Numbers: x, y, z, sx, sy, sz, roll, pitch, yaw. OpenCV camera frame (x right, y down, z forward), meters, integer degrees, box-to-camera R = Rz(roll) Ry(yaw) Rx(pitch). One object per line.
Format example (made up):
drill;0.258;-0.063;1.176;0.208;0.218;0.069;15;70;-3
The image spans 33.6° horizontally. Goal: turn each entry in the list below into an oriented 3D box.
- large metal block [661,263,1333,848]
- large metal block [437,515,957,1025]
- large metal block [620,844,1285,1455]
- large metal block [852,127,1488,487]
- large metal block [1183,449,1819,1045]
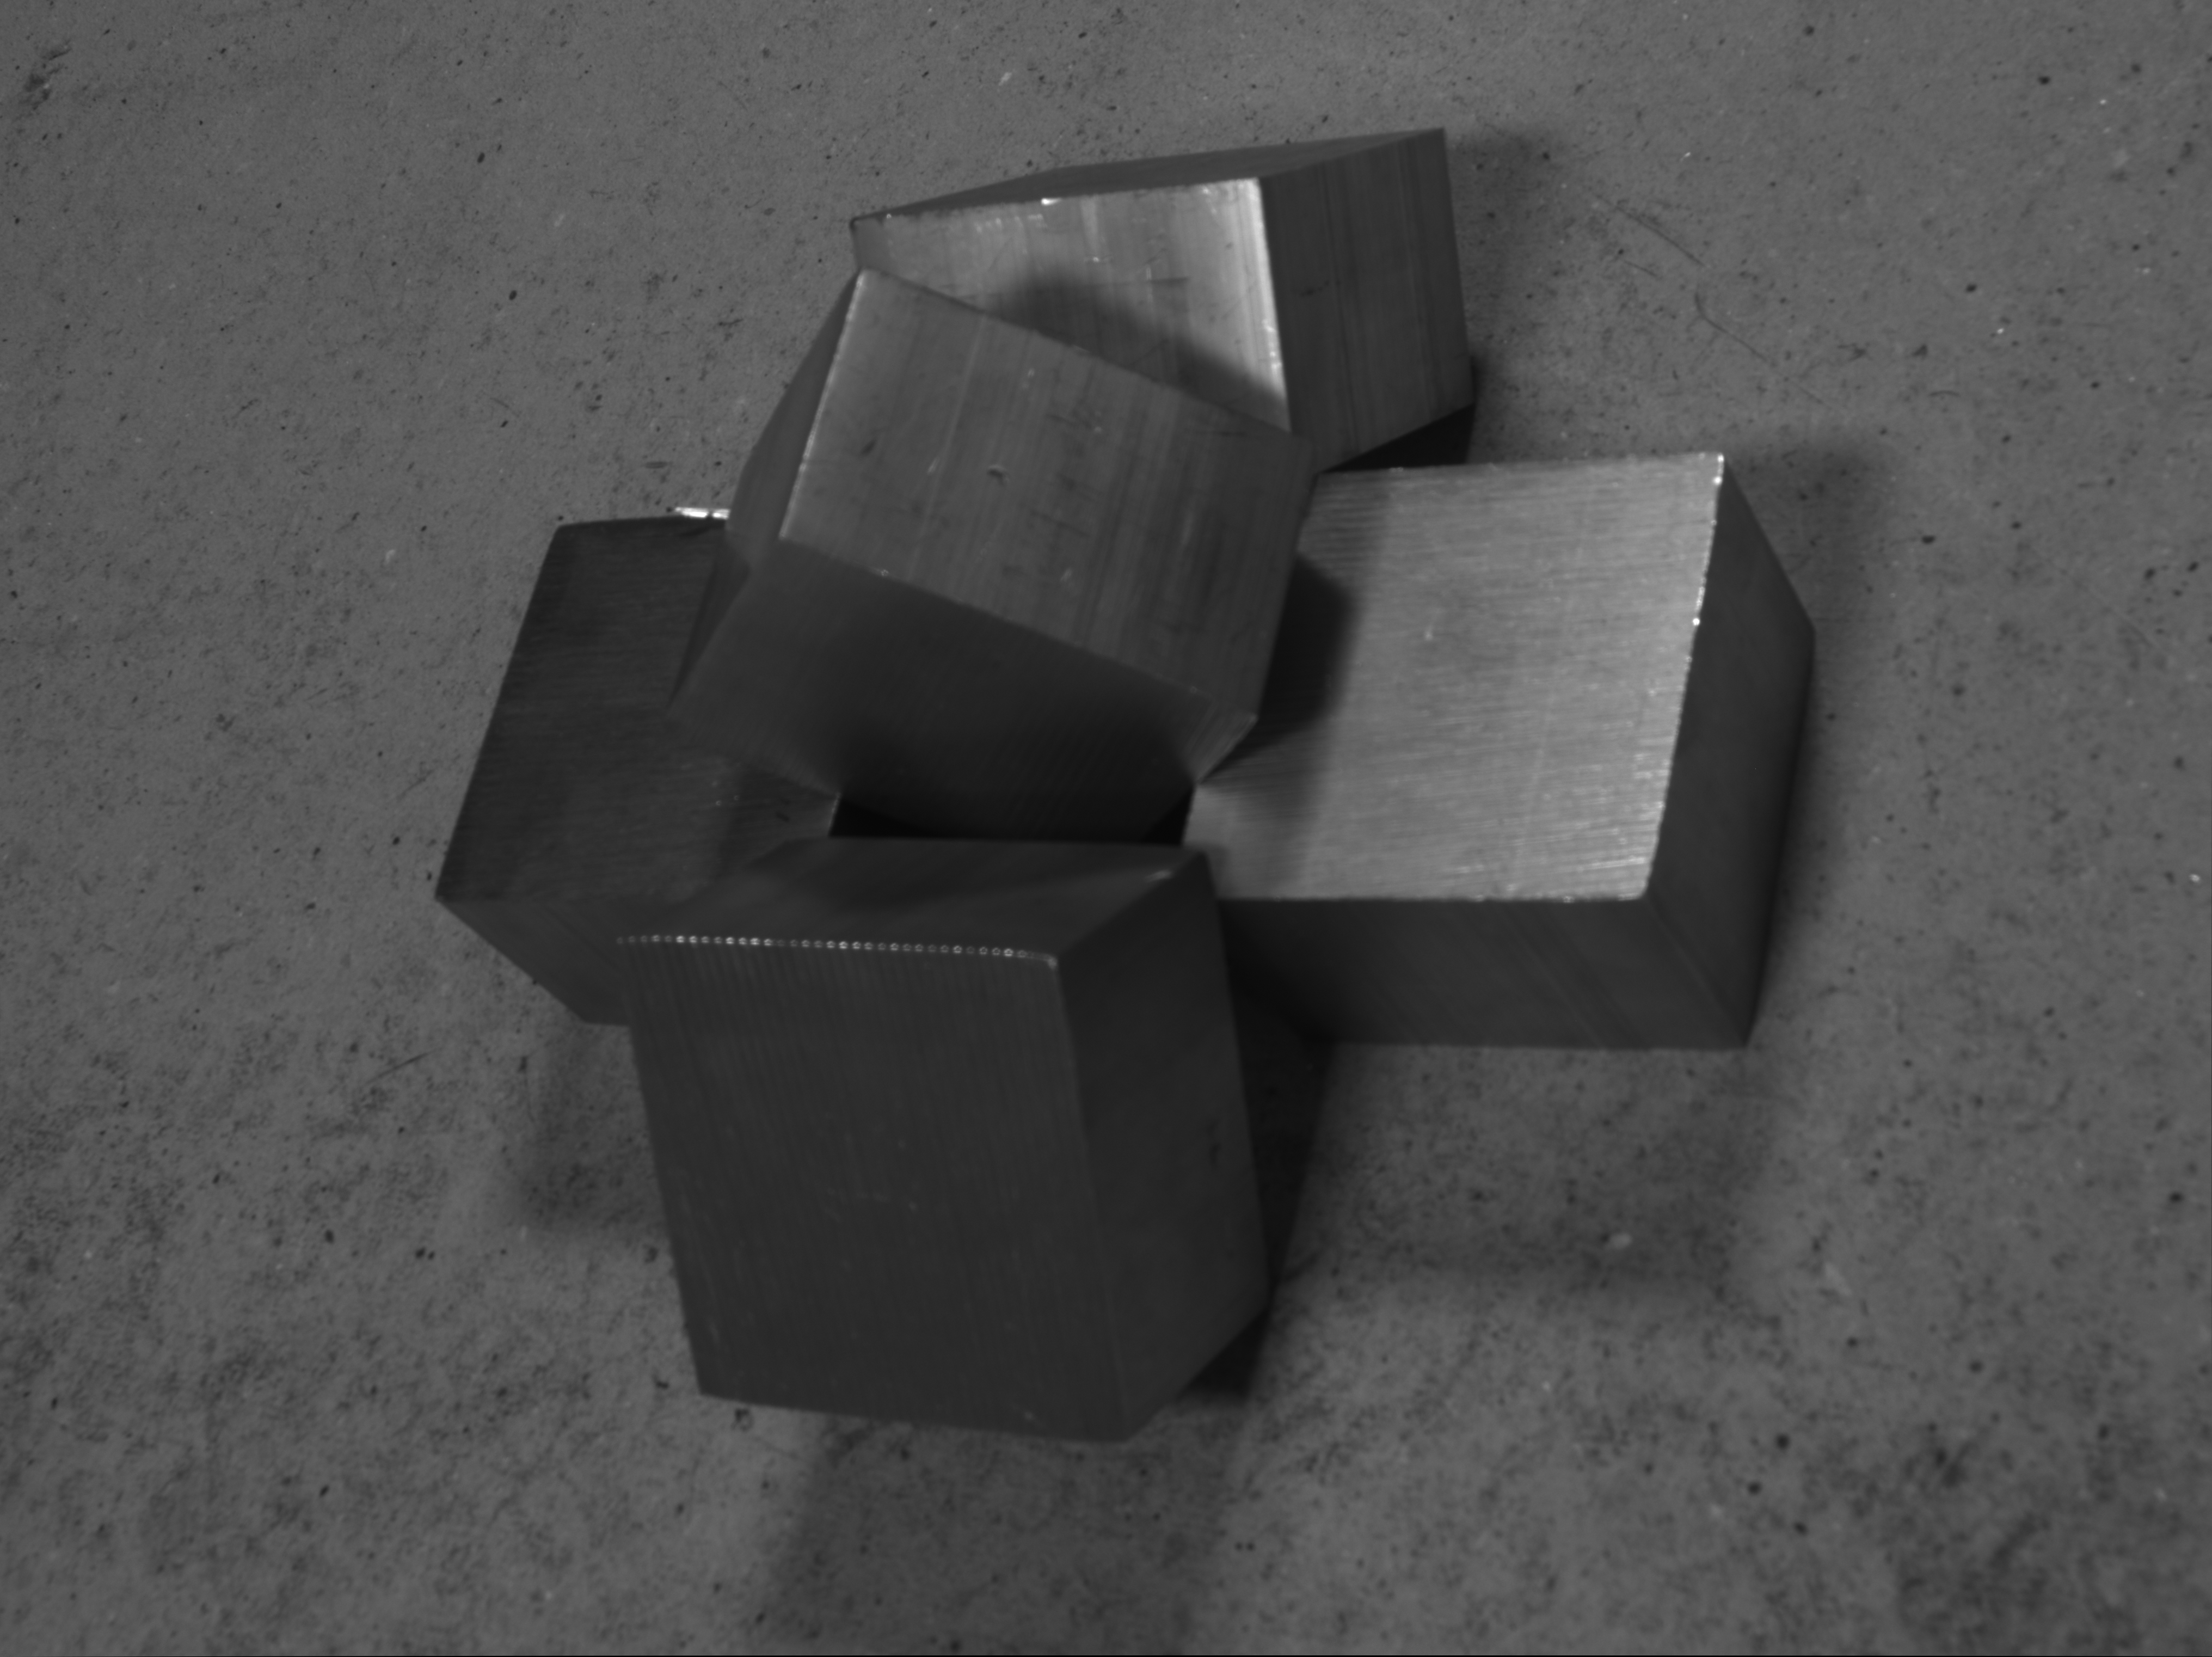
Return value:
large metal block;-0.019;-0.039;0.600;0.080;0.080;0.050;135;152;-61
large metal block;-0.065;-0.010;0.670;0.080;0.050;0.080;-1;61;28
large metal block;-0.023;0.049;0.584;0.080;0.080;0.050;1;19;30
large metal block;0.013;-0.091;0.651;0.080;0.080;0.050;-1;105;29
large metal block;0.065;-0.013;0.598;0.080;0.050;0.080;0;62;28
